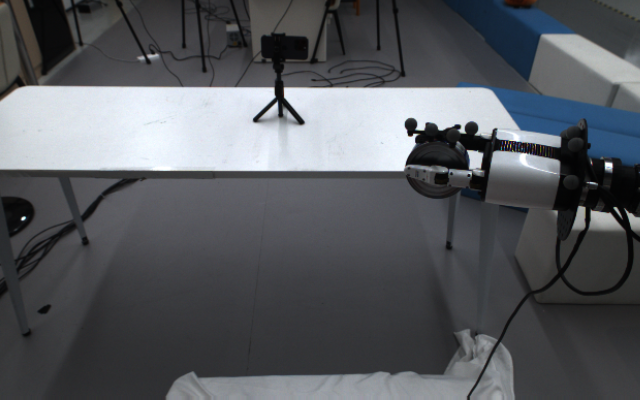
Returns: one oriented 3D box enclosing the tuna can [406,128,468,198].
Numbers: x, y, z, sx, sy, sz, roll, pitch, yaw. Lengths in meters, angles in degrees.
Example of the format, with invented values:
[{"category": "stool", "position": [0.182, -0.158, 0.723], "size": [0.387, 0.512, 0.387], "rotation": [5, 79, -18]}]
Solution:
[{"category": "tuna can", "position": [0.166, -0.050, 0.678], "size": [0.085, 0.085, 0.034], "rotation": [13, 30, 15]}]
